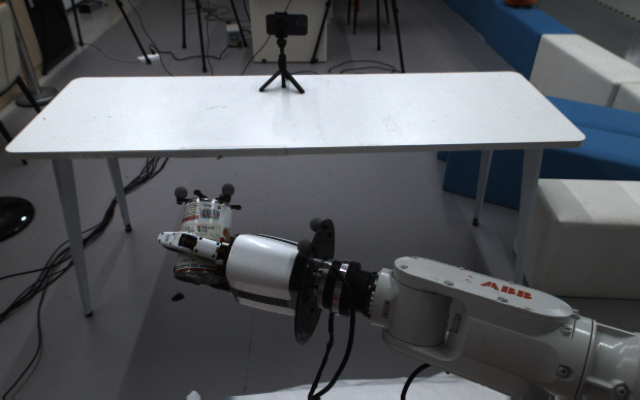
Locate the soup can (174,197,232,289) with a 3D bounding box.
[{"bbox_3d":[-0.153,0.057,0.647,0.067,0.067,0.101,1,68,-1],"label":"soup can"}]
